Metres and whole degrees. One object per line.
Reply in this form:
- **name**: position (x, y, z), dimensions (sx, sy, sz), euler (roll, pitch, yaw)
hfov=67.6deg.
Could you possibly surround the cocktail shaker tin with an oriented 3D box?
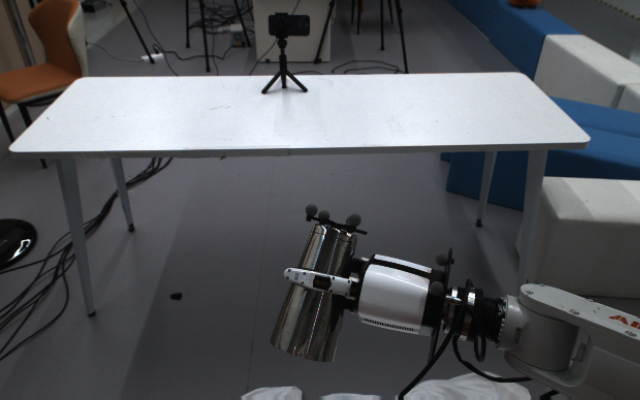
- **cocktail shaker tin**: position (-0.003, 0.124, 0.669), dimensions (0.093, 0.170, 0.093), euler (16, -7, 2)
